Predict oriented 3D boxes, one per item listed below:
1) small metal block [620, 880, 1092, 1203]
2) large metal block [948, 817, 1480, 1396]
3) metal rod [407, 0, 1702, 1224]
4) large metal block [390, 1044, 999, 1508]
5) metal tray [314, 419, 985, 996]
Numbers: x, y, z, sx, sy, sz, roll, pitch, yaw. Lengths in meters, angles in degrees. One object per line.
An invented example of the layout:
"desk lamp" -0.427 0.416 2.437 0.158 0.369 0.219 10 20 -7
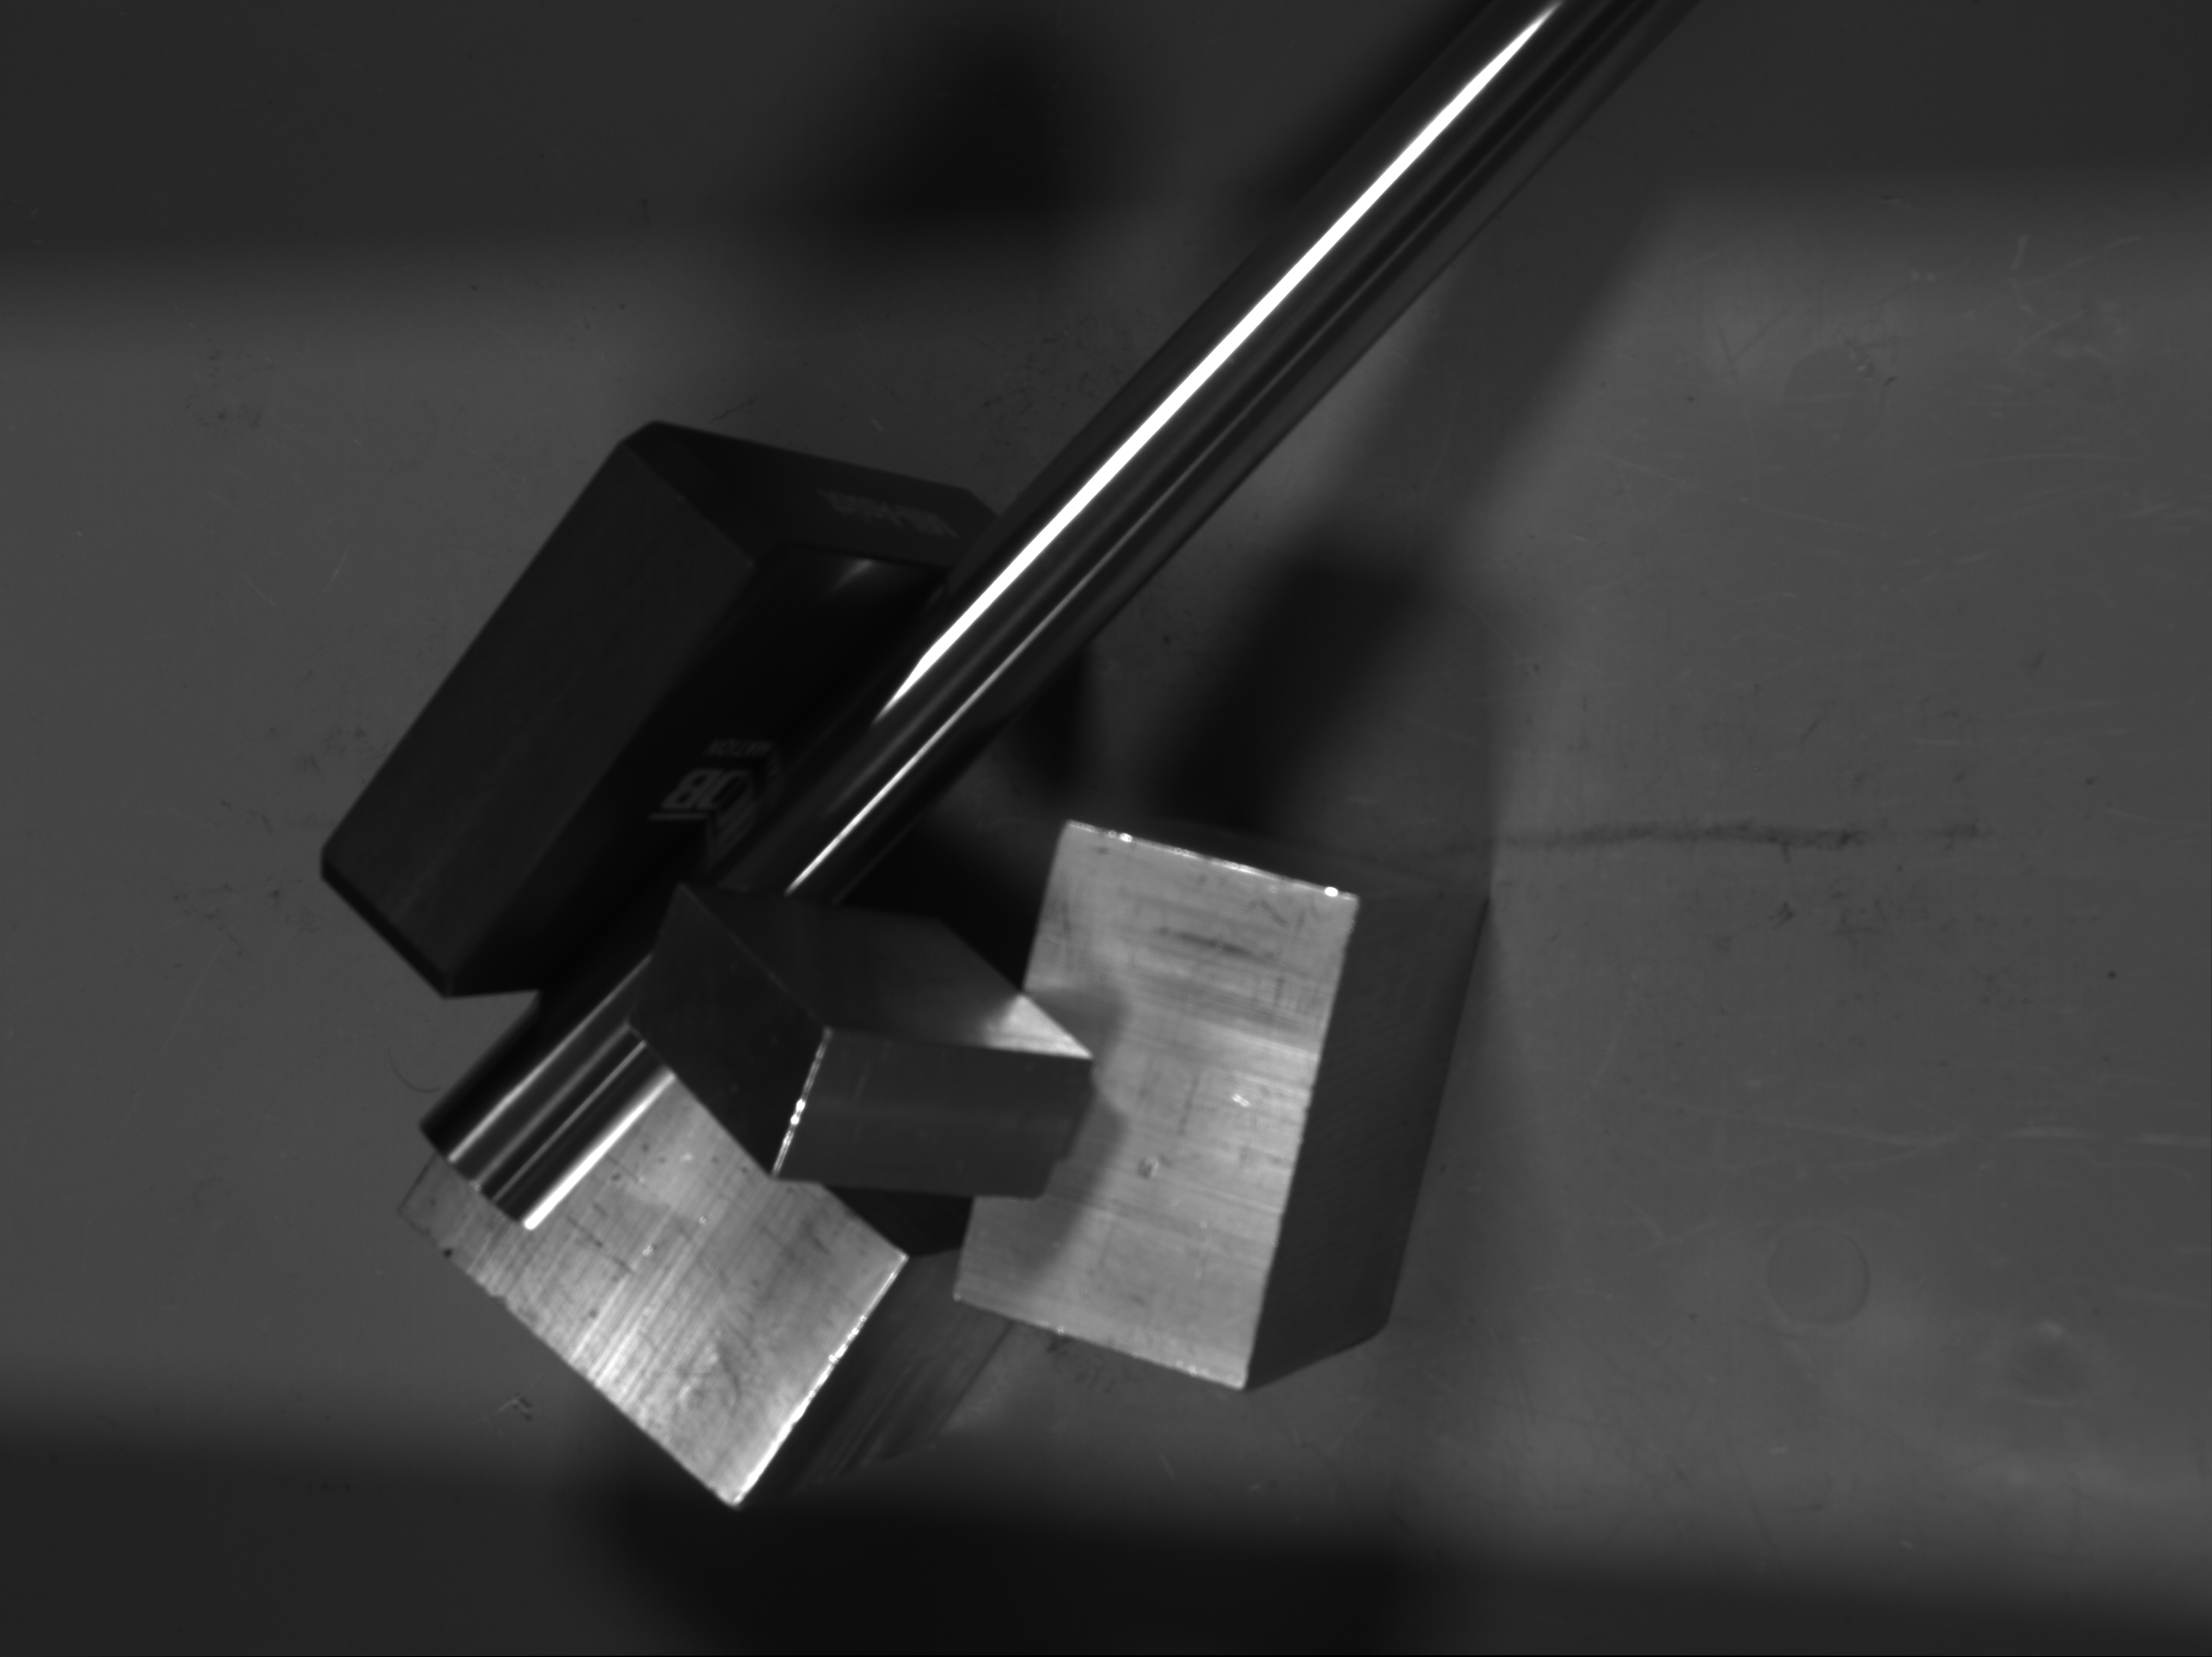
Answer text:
"small metal block" -0.039 0.033 0.565 0.050 0.050 0.025 40 114 48
"large metal block" 0.020 0.043 0.608 0.050 0.080 0.080 14 95 19
"metal rod" 0.001 -0.053 0.595 0.025 0.025 0.300 43 86 15
"large metal block" -0.063 0.066 0.638 0.080 0.080 0.050 38 102 16
"metal tray" -0.064 -0.018 0.610 0.030 0.130 0.090 42 104 16
